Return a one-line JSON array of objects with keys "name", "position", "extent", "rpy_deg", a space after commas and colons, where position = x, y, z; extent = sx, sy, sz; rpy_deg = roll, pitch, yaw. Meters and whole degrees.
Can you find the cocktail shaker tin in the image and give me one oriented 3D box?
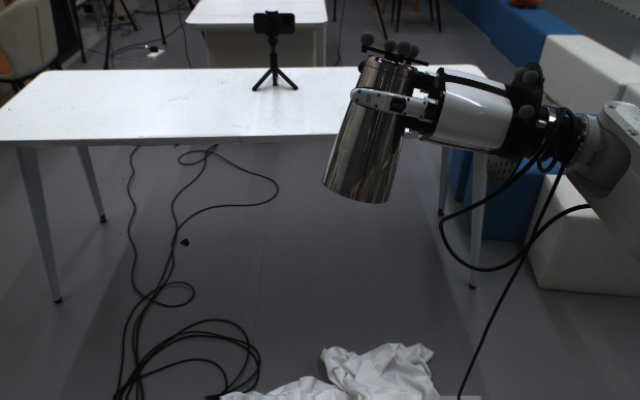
[{"name": "cocktail shaker tin", "position": [0.070, -0.095, 0.624], "extent": [0.093, 0.170, 0.093], "rpy_deg": [14, 18, -5]}]
